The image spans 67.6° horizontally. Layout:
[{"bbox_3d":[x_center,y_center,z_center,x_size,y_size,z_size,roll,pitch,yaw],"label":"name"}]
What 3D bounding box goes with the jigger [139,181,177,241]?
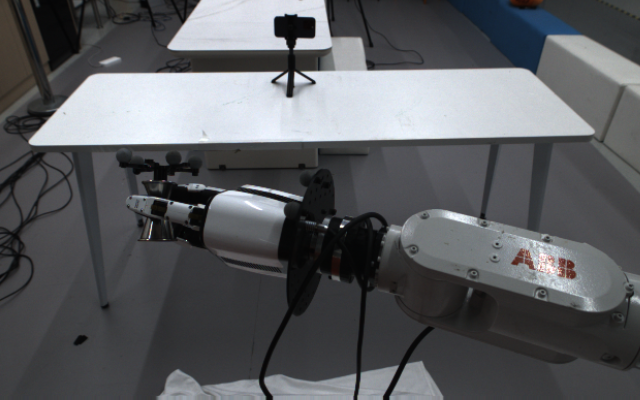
[{"bbox_3d":[-0.186,0.014,0.557,0.043,0.071,0.043,0,-5,0],"label":"jigger"}]
